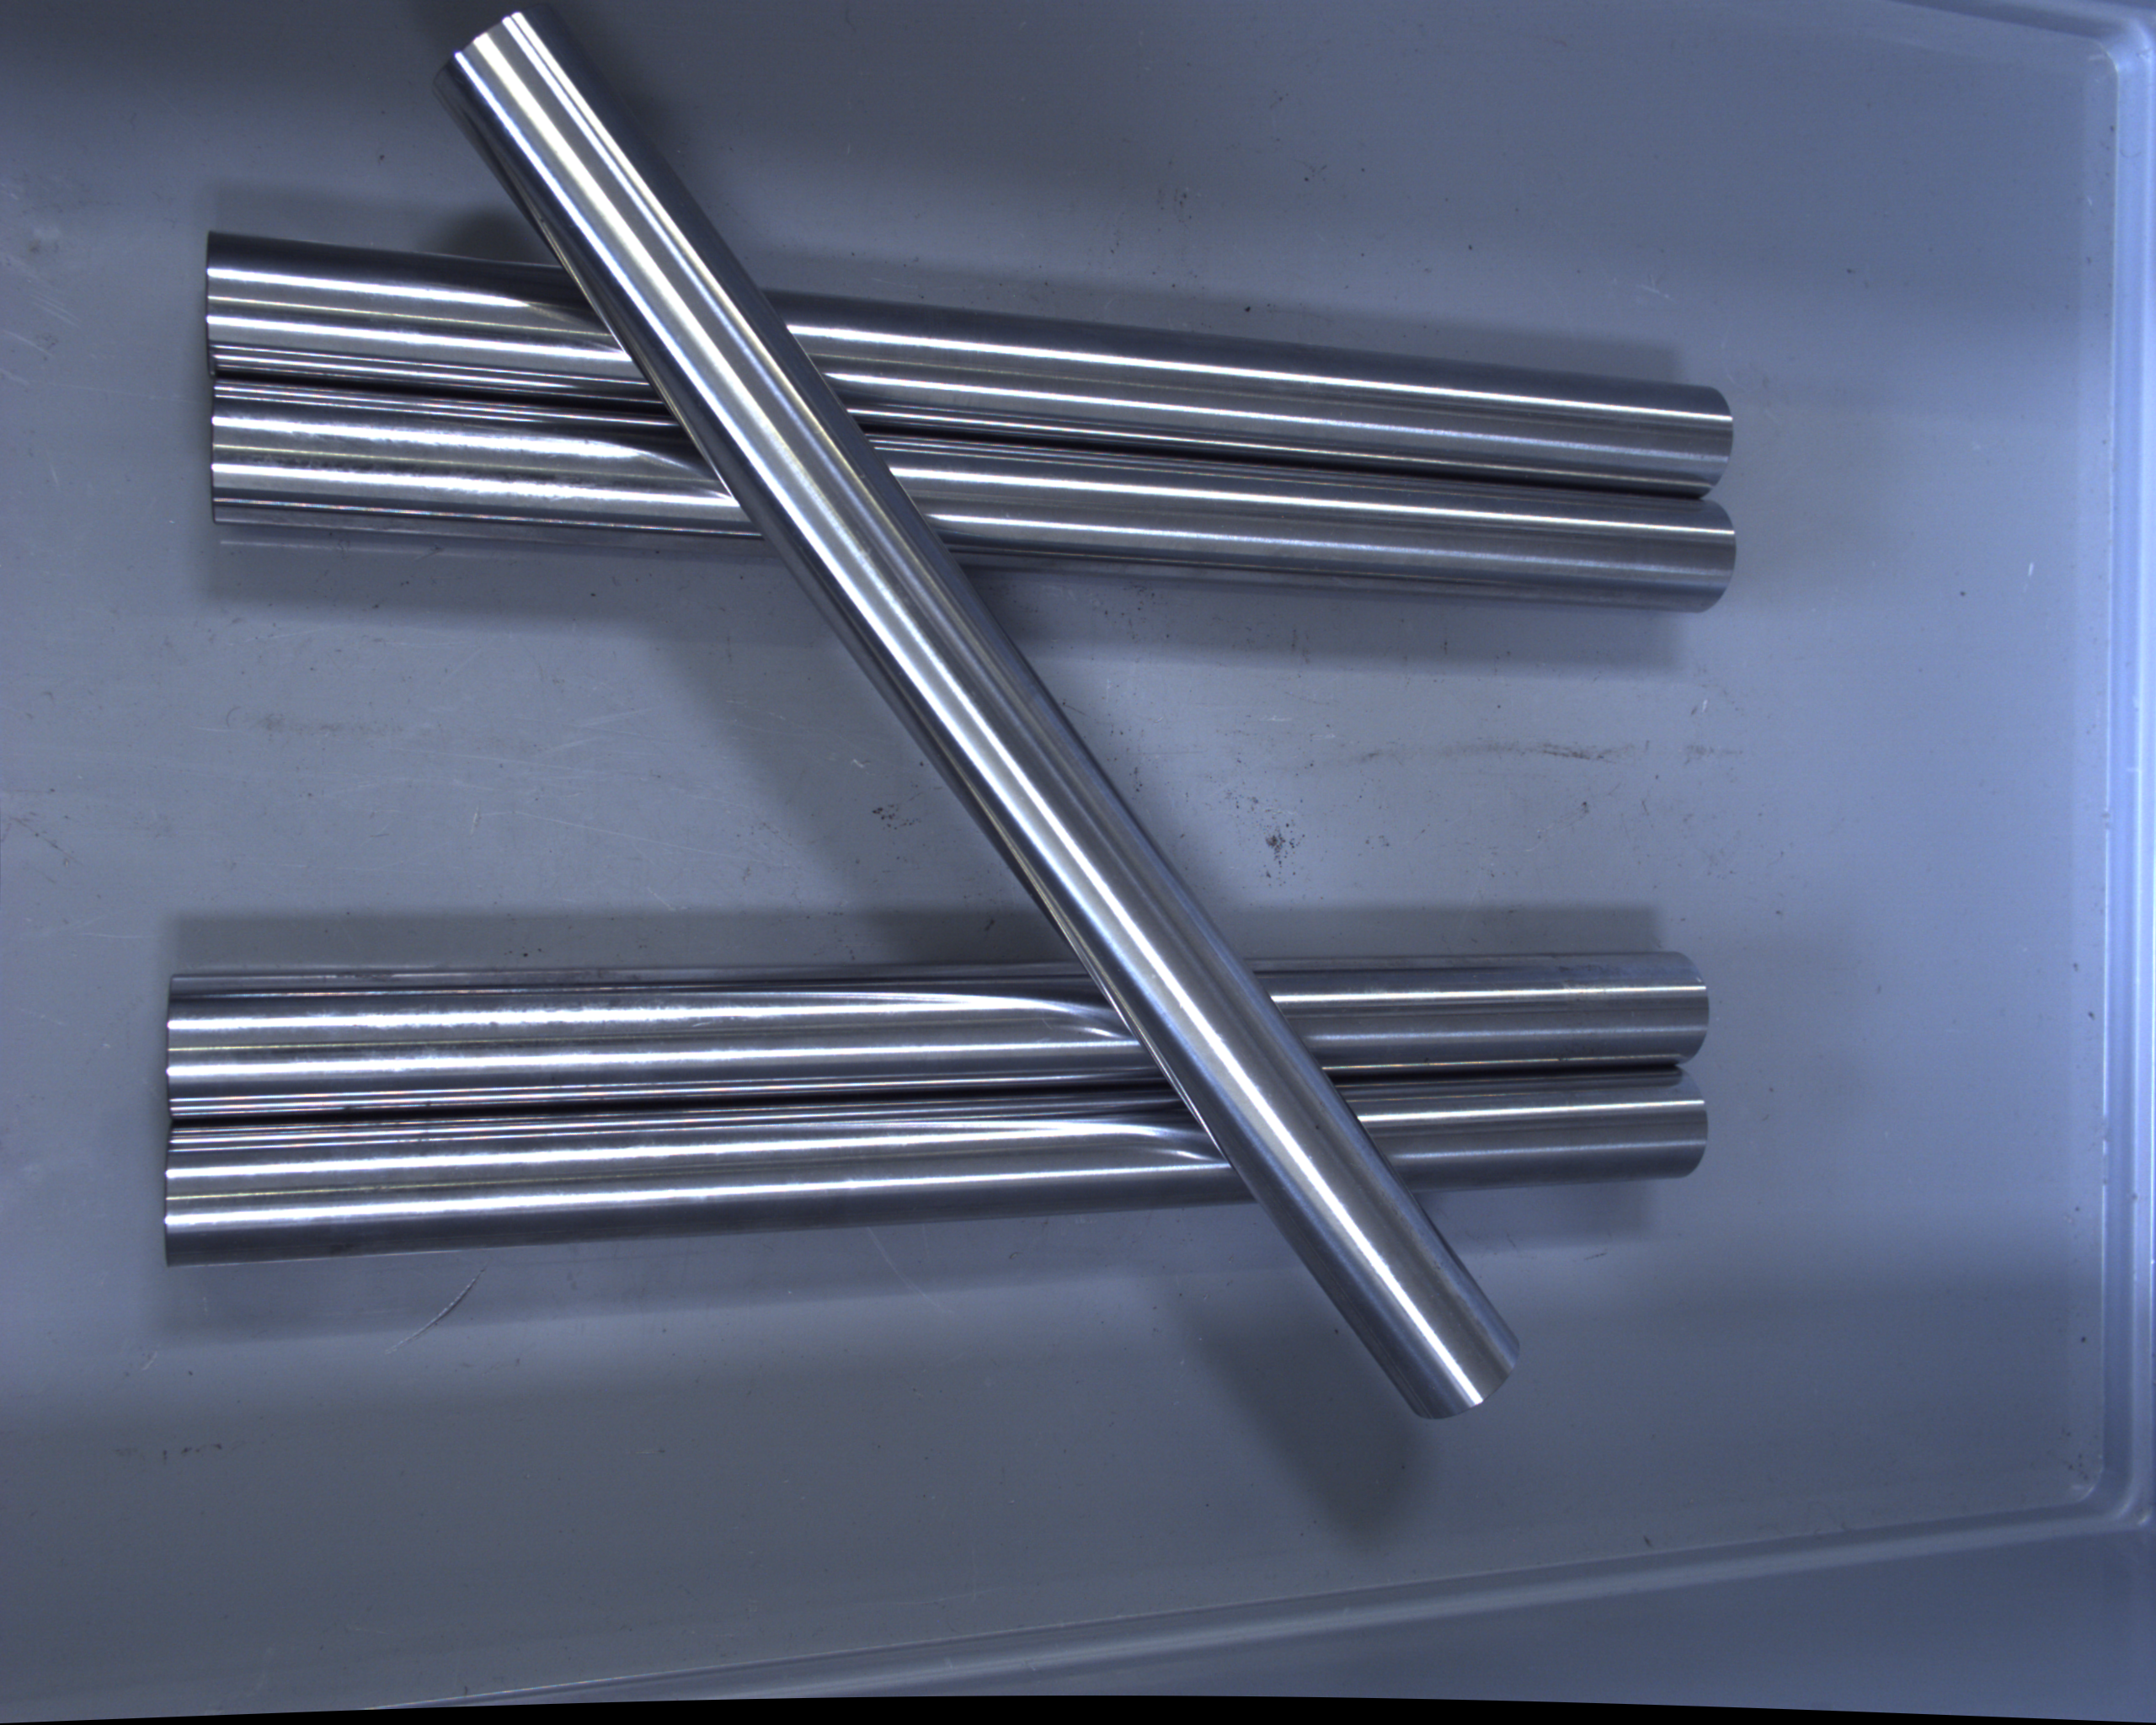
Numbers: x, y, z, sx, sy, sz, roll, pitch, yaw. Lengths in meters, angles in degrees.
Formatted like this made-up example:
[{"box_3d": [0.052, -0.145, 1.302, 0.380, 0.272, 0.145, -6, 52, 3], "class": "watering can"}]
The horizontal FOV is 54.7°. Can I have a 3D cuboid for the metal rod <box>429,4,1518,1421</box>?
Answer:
[{"box_3d": [-0.011, -0.017, 0.379, 0.025, 0.025, 0.299, -40, 103, -16], "class": "metal rod"}]

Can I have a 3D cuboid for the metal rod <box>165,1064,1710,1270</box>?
[{"box_3d": [-0.011, 0.056, 0.404, 0.302, 0.025, 0.025, 0, 90, -20], "class": "metal rod"}]

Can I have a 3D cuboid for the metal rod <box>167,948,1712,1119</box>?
[{"box_3d": [-0.011, 0.031, 0.404, 0.302, 0.025, 0.025, 0, 90, -20], "class": "metal rod"}]

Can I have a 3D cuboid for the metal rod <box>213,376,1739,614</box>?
[{"box_3d": [-0.005, -0.068, 0.407, 0.302, 0.025, 0.025, 1, 90, -20], "class": "metal rod"}]

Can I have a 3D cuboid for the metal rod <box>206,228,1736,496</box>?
[{"box_3d": [-0.005, -0.093, 0.406, 0.302, 0.025, 0.025, 1, 90, -20], "class": "metal rod"}]
